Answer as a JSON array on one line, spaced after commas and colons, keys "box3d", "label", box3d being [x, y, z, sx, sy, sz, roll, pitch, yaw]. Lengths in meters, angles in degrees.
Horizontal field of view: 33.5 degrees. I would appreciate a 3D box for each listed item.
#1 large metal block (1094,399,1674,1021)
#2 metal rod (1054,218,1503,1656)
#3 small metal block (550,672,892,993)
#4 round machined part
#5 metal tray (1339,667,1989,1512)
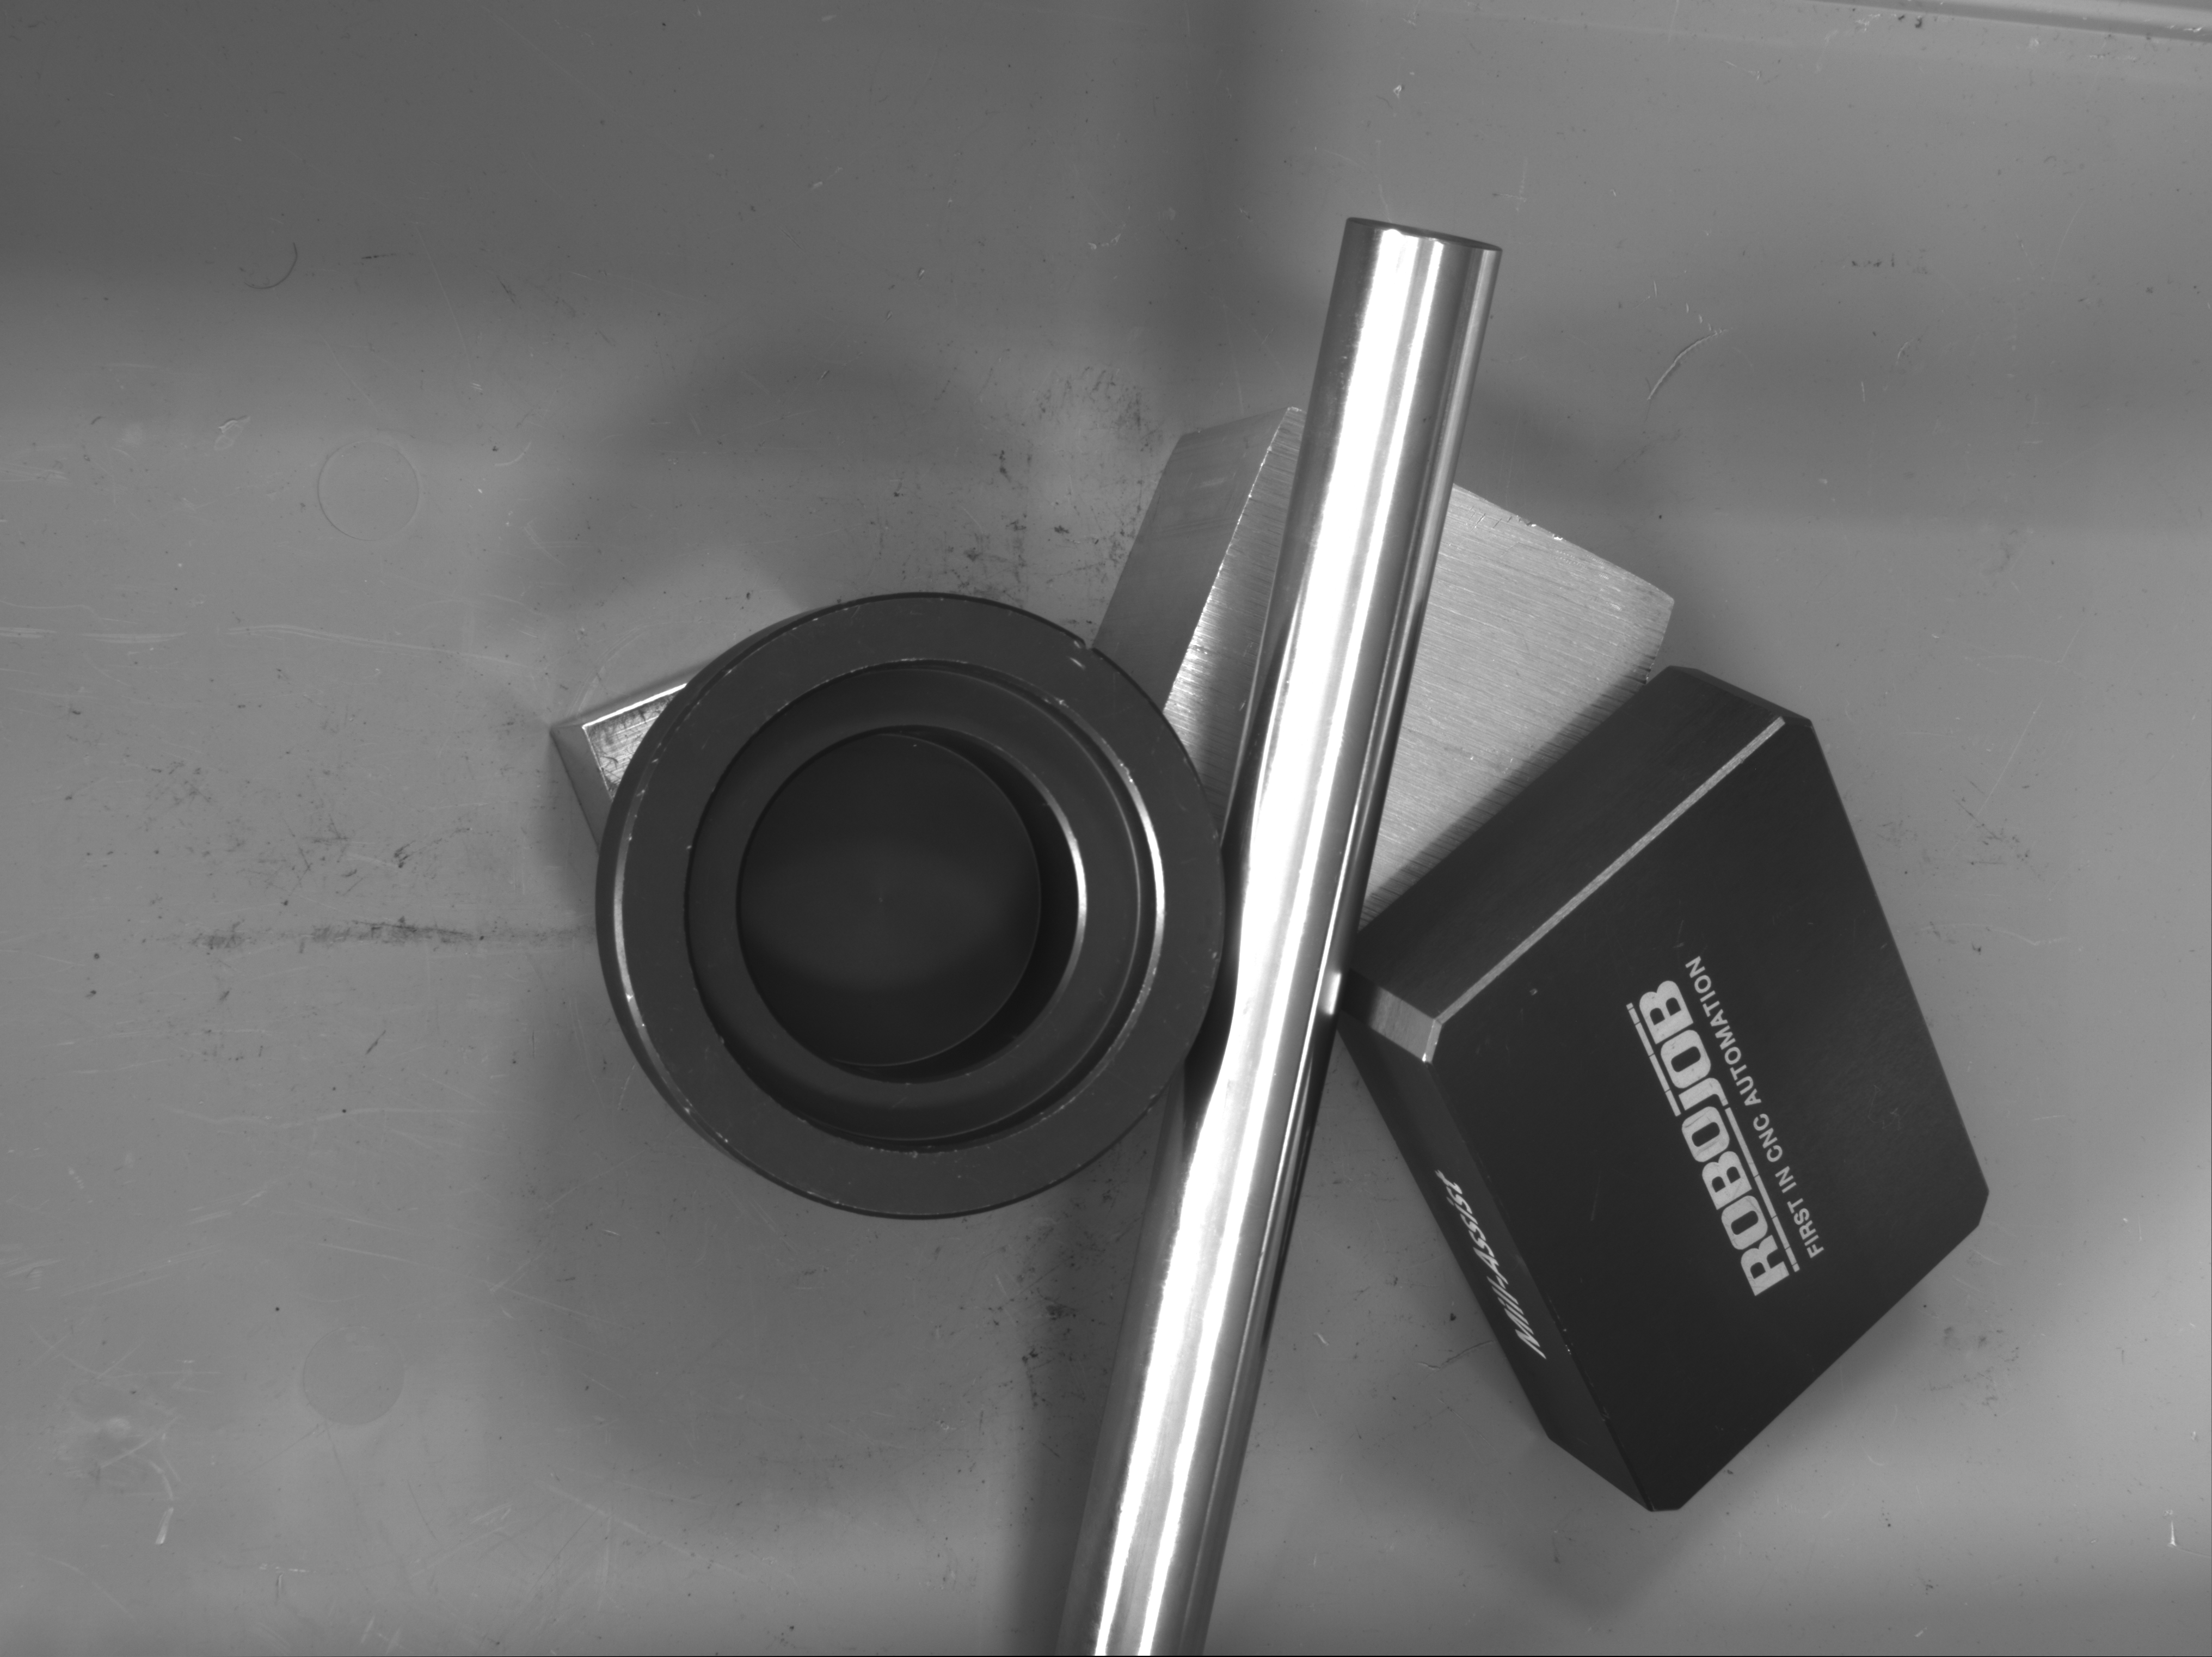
[{"box3d": [0.041, -0.019, 0.644, 0.080, 0.050, 0.080, 24, 82, -18], "label": "large metal block"}, {"box3d": [0.022, 0.050, 0.608, 0.025, 0.025, 0.300, 7, 104, -20], "label": "metal rod"}, {"box3d": [-0.059, -0.003, 0.622, 0.050, 0.025, 0.050, -23, 98, -18], "label": "small metal block"}, {"box3d": [-0.034, 0.012, 0.592, 0.098, 0.042, 0.098, 0, 91, -17], "label": "round machined part"}, {"box3d": [0.100, 0.048, 0.649, 0.090, 0.030, 0.130, -40, 127, -15], "label": "metal tray"}]
